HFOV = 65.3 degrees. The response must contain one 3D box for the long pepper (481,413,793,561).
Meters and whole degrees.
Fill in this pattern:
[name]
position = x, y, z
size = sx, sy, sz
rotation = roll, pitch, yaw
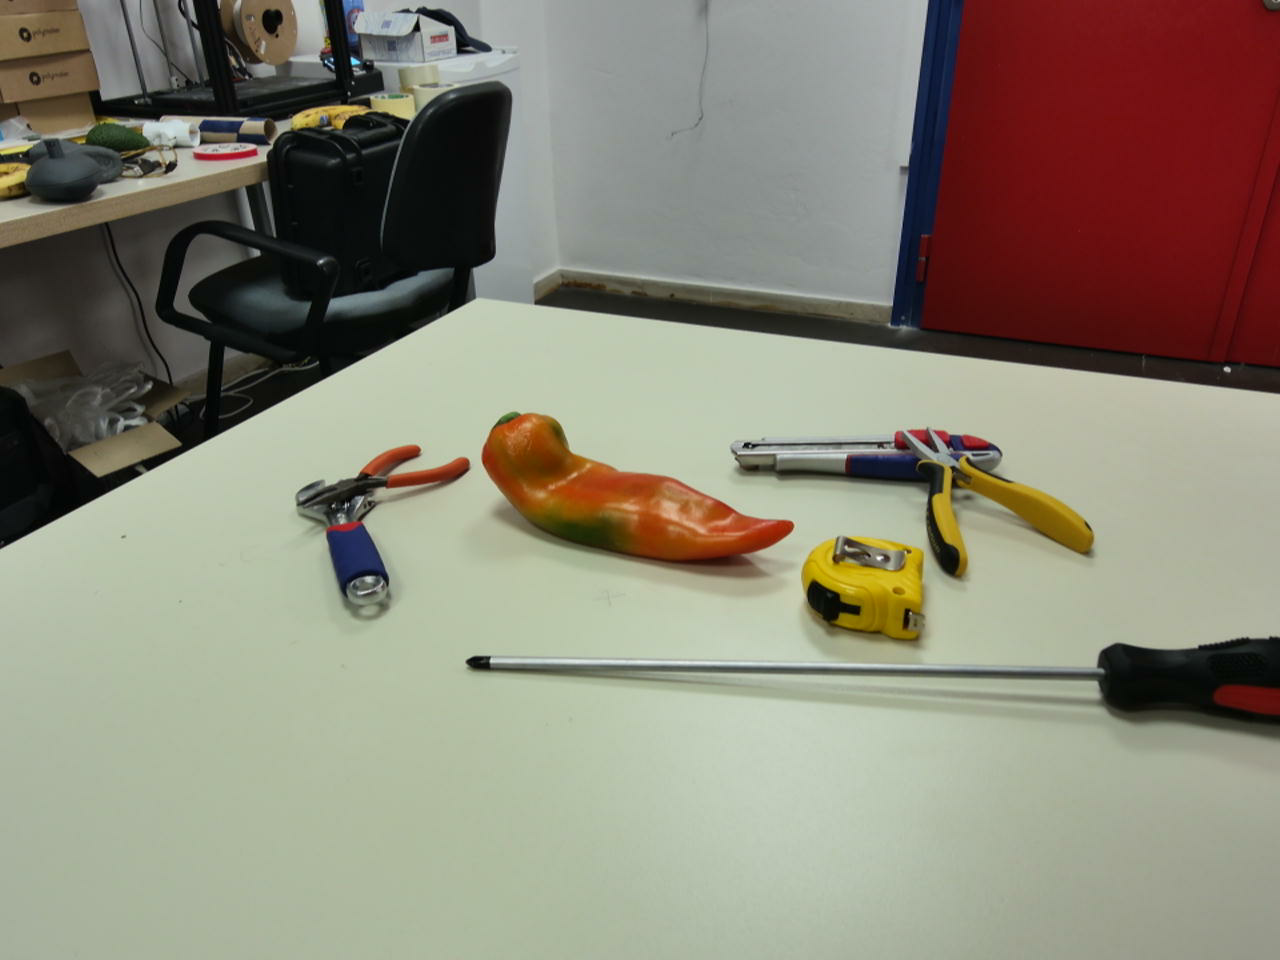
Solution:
[long pepper]
position = -0.006, 0.004, 0.590
size = 0.199, 0.065, 0.066
rotation = 13, 29, 26
